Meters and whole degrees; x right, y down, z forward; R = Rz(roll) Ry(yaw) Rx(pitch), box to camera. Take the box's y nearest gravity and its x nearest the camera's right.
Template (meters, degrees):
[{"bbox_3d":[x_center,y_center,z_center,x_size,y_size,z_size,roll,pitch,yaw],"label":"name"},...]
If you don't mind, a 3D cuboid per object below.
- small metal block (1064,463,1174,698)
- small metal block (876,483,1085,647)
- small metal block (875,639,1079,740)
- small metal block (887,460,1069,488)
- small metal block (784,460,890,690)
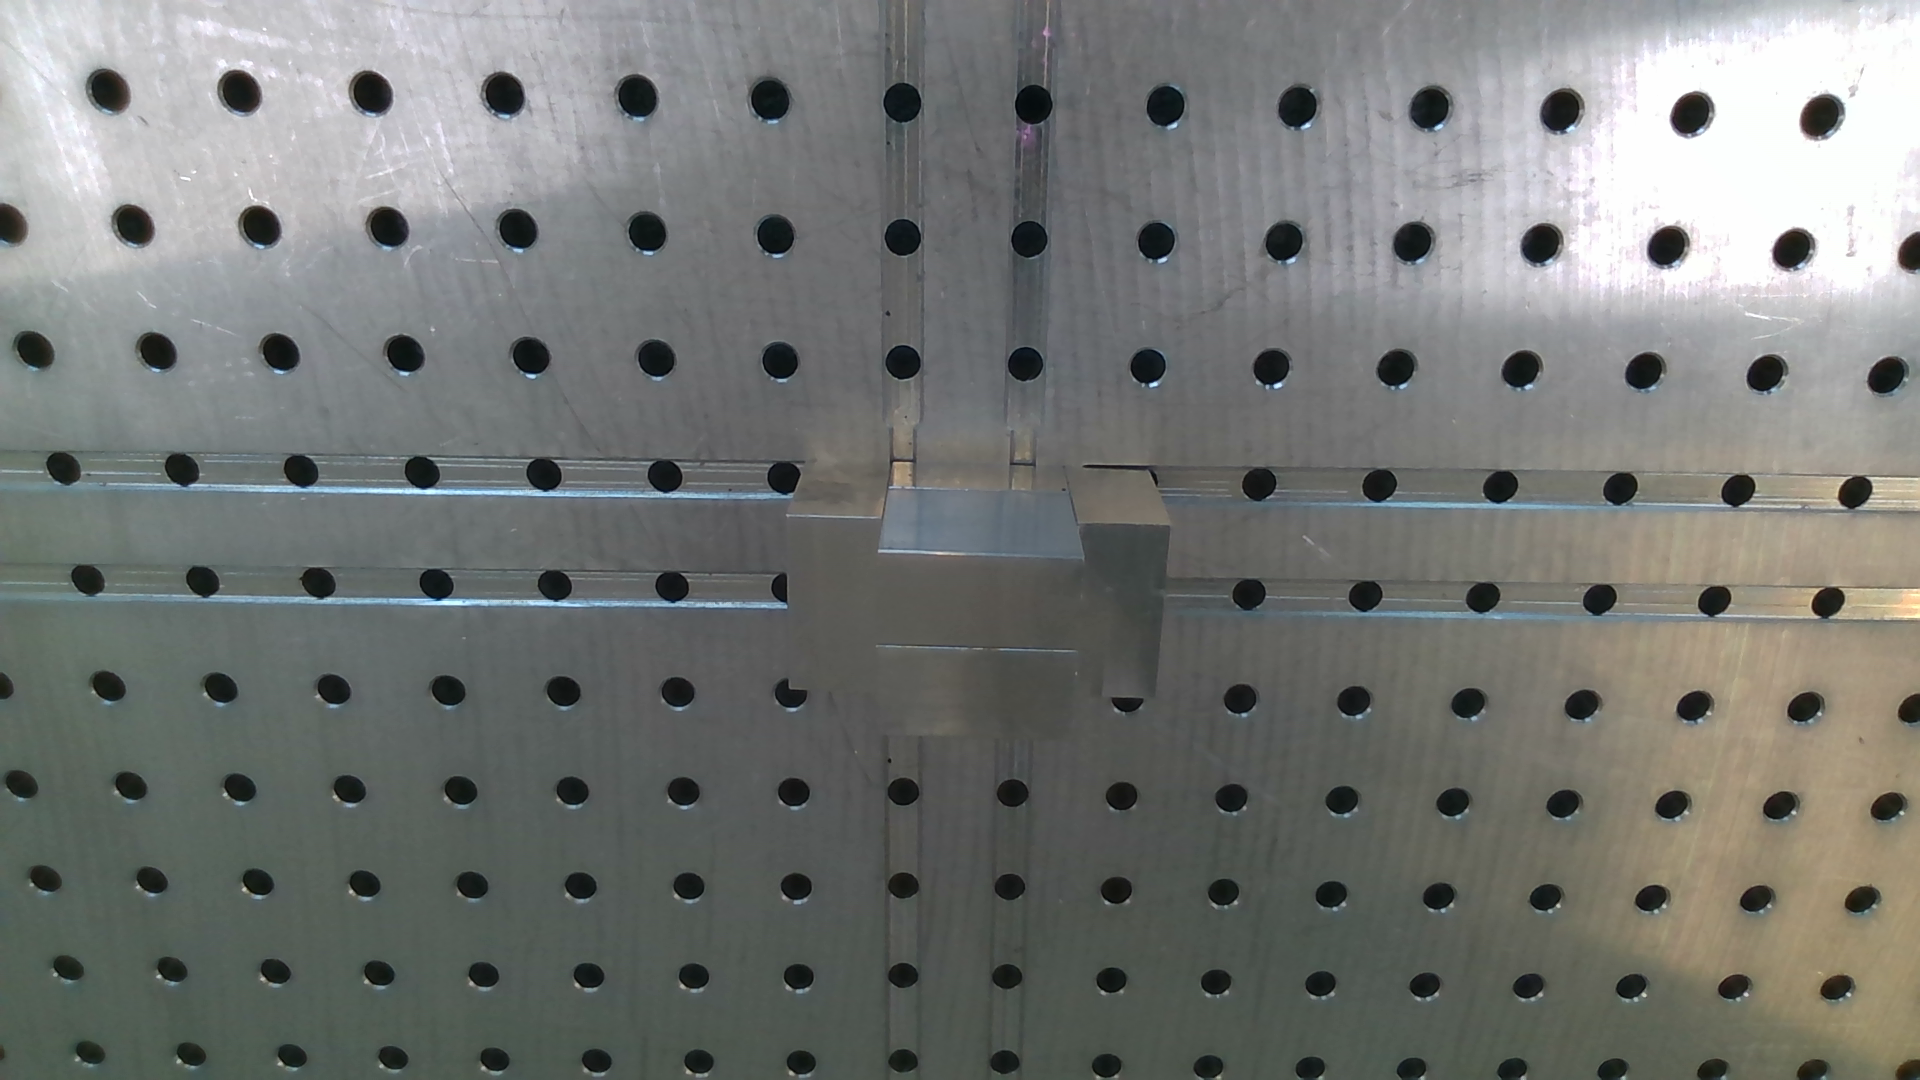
[{"bbox_3d":[0.042,0.010,0.385,0.025,0.050,0.050,2,110,0],"label":"small metal block"},{"bbox_3d":[0.005,0.005,0.357,0.050,0.050,0.025,2,110,-1],"label":"small metal block"},{"bbox_3d":[0.004,0.030,0.367,0.050,0.050,0.025,2,109,-1],"label":"small metal block"},{"bbox_3d":[0.004,0.004,0.397,0.050,0.025,0.050,2,109,0],"label":"small metal block"},{"bbox_3d":[-0.033,0.008,0.385,0.025,0.050,0.050,1,110,-1],"label":"small metal block"}]
